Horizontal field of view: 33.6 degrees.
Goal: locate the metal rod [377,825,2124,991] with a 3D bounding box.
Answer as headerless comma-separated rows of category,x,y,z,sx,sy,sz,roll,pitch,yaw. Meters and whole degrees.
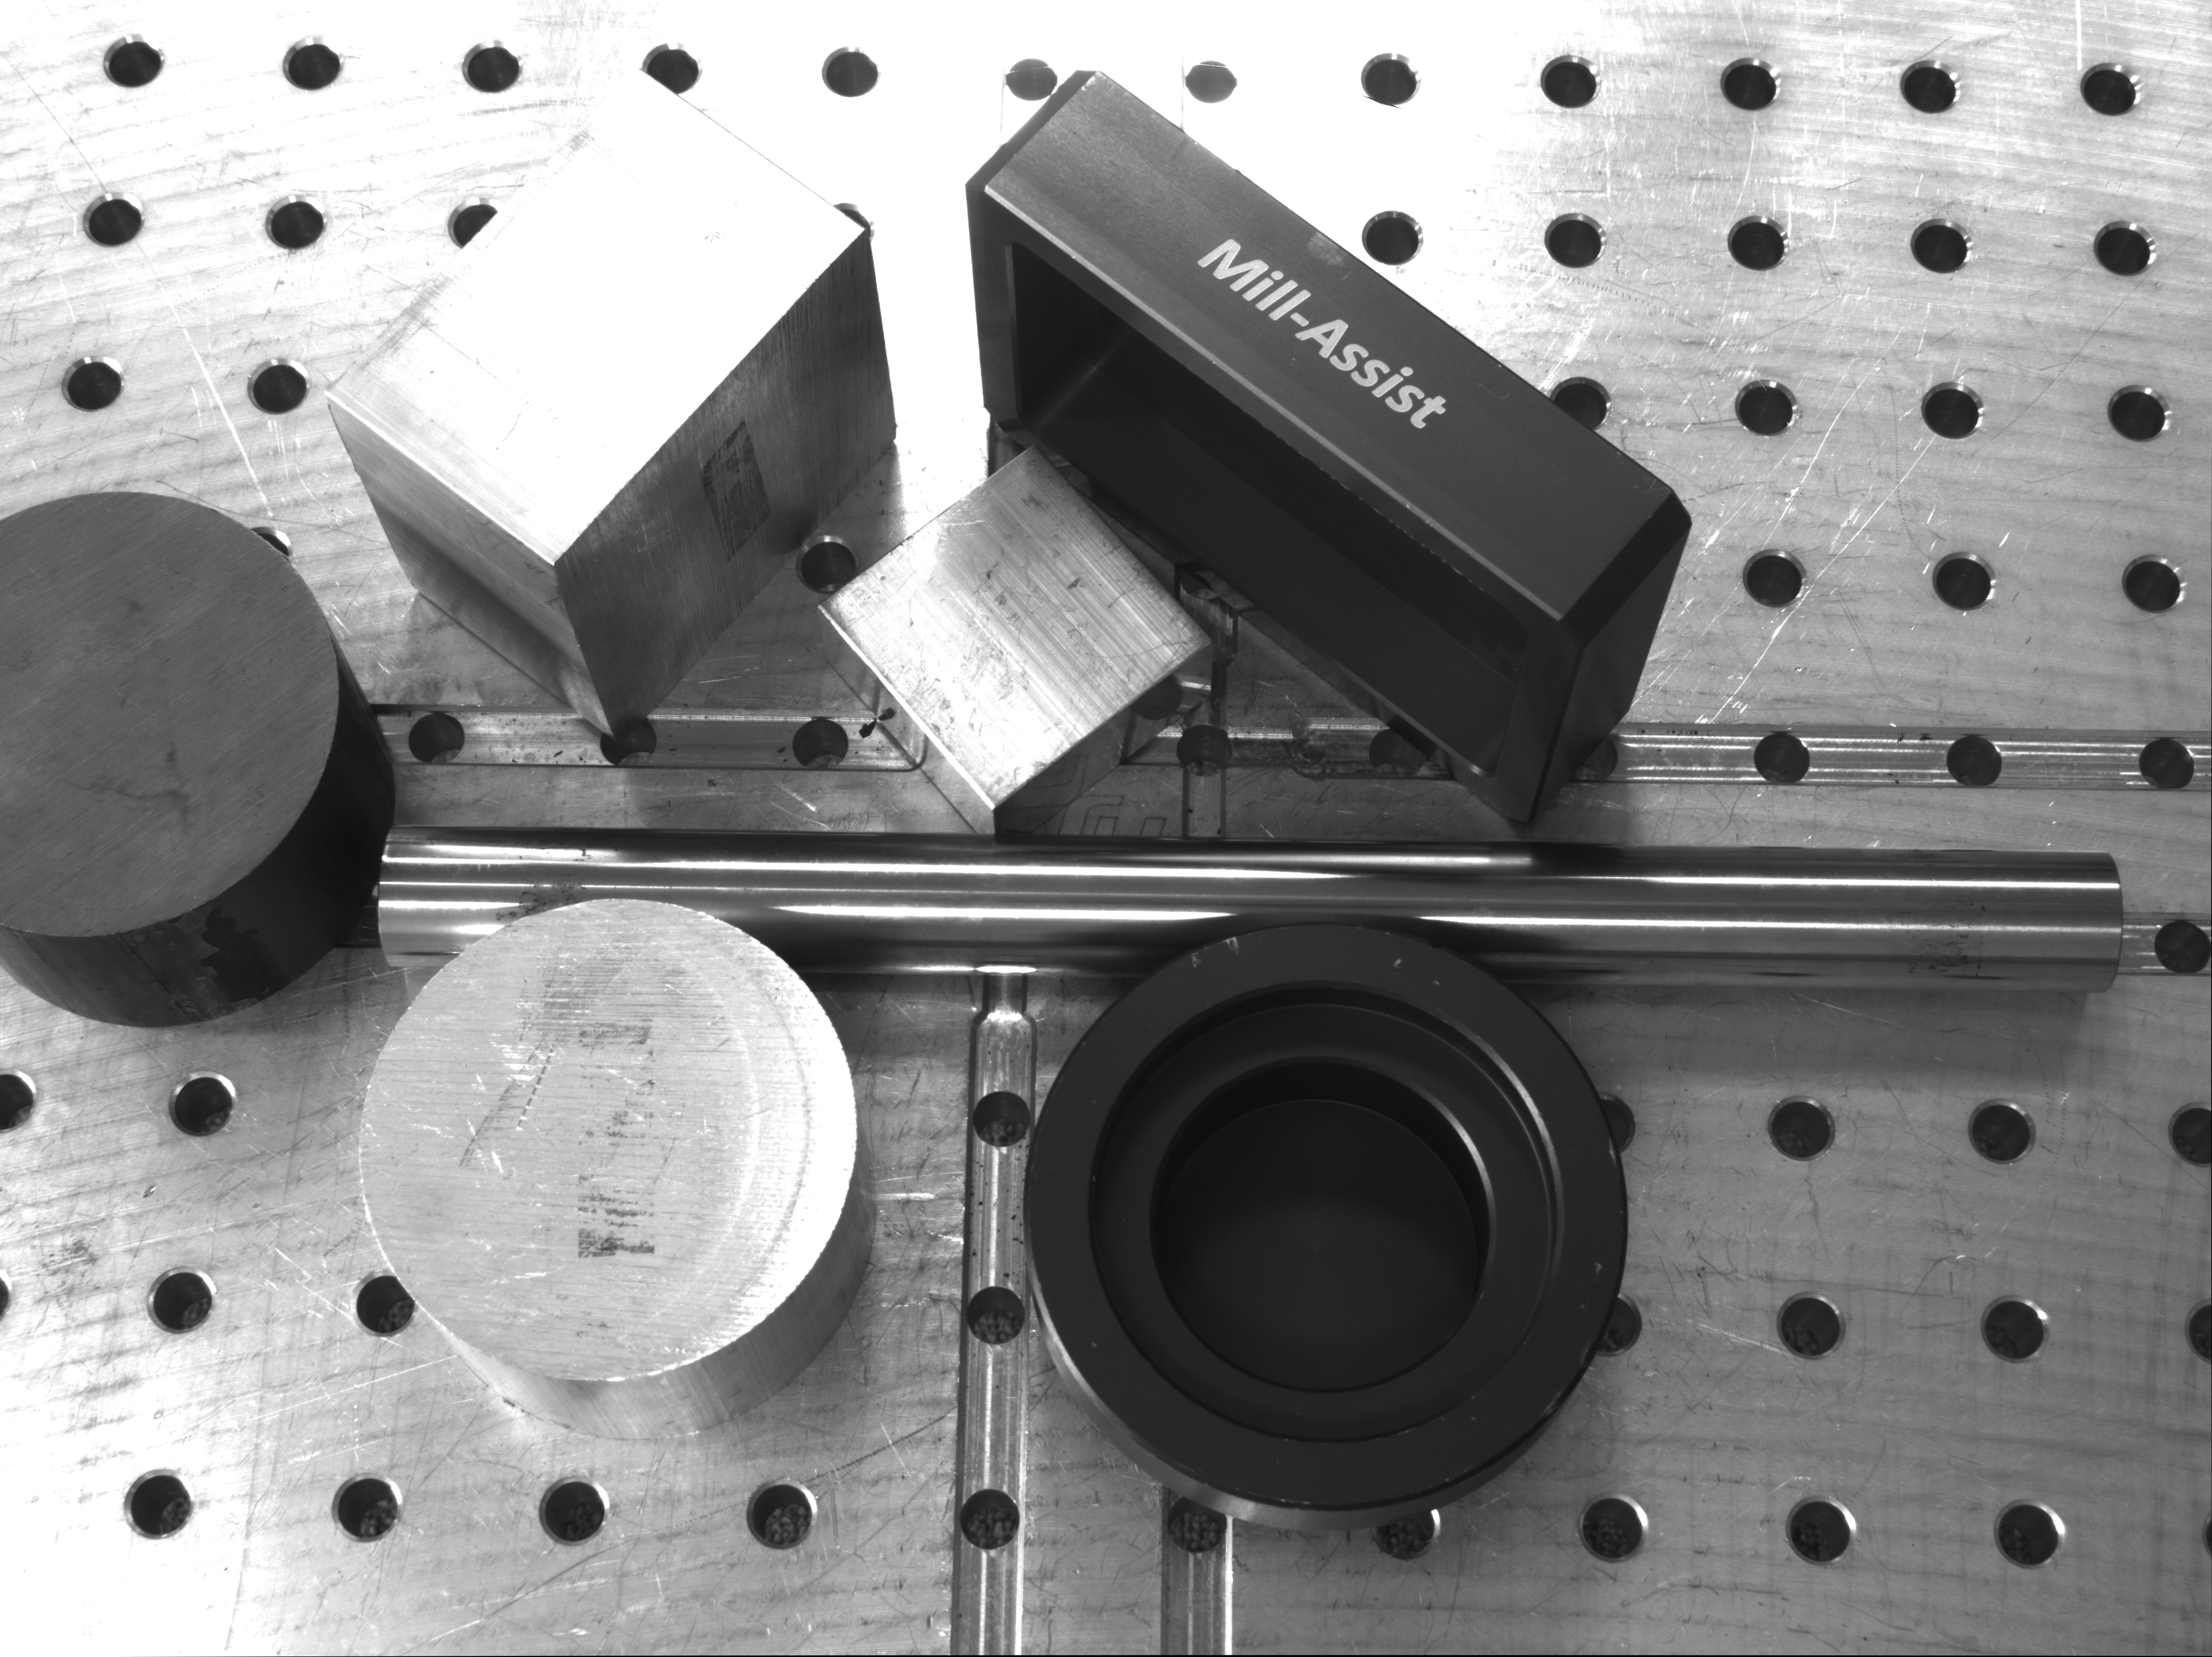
metal rod,0.025,0.014,0.642,0.300,0.025,0.025,1,70,0

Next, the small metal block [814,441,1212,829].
small metal block,-0.016,-0.032,0.659,0.050,0.025,0.050,-37,74,-12

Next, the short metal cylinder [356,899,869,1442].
short metal cylinder,-0.080,0.058,0.612,0.080,0.050,0.080,0,70,0

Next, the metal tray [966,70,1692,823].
metal tray,0.036,-0.064,0.636,0.130,0.090,0.030,38,75,13

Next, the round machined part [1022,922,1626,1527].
round machined part,0.035,0.068,0.613,0.098,0.042,0.098,0,70,0

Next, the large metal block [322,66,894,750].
large metal block,-0.084,-0.072,0.645,0.050,0.080,0.080,37,74,12

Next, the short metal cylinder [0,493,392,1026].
short metal cylinder,-0.169,-0.011,0.637,0.080,0.050,0.080,0,70,0
